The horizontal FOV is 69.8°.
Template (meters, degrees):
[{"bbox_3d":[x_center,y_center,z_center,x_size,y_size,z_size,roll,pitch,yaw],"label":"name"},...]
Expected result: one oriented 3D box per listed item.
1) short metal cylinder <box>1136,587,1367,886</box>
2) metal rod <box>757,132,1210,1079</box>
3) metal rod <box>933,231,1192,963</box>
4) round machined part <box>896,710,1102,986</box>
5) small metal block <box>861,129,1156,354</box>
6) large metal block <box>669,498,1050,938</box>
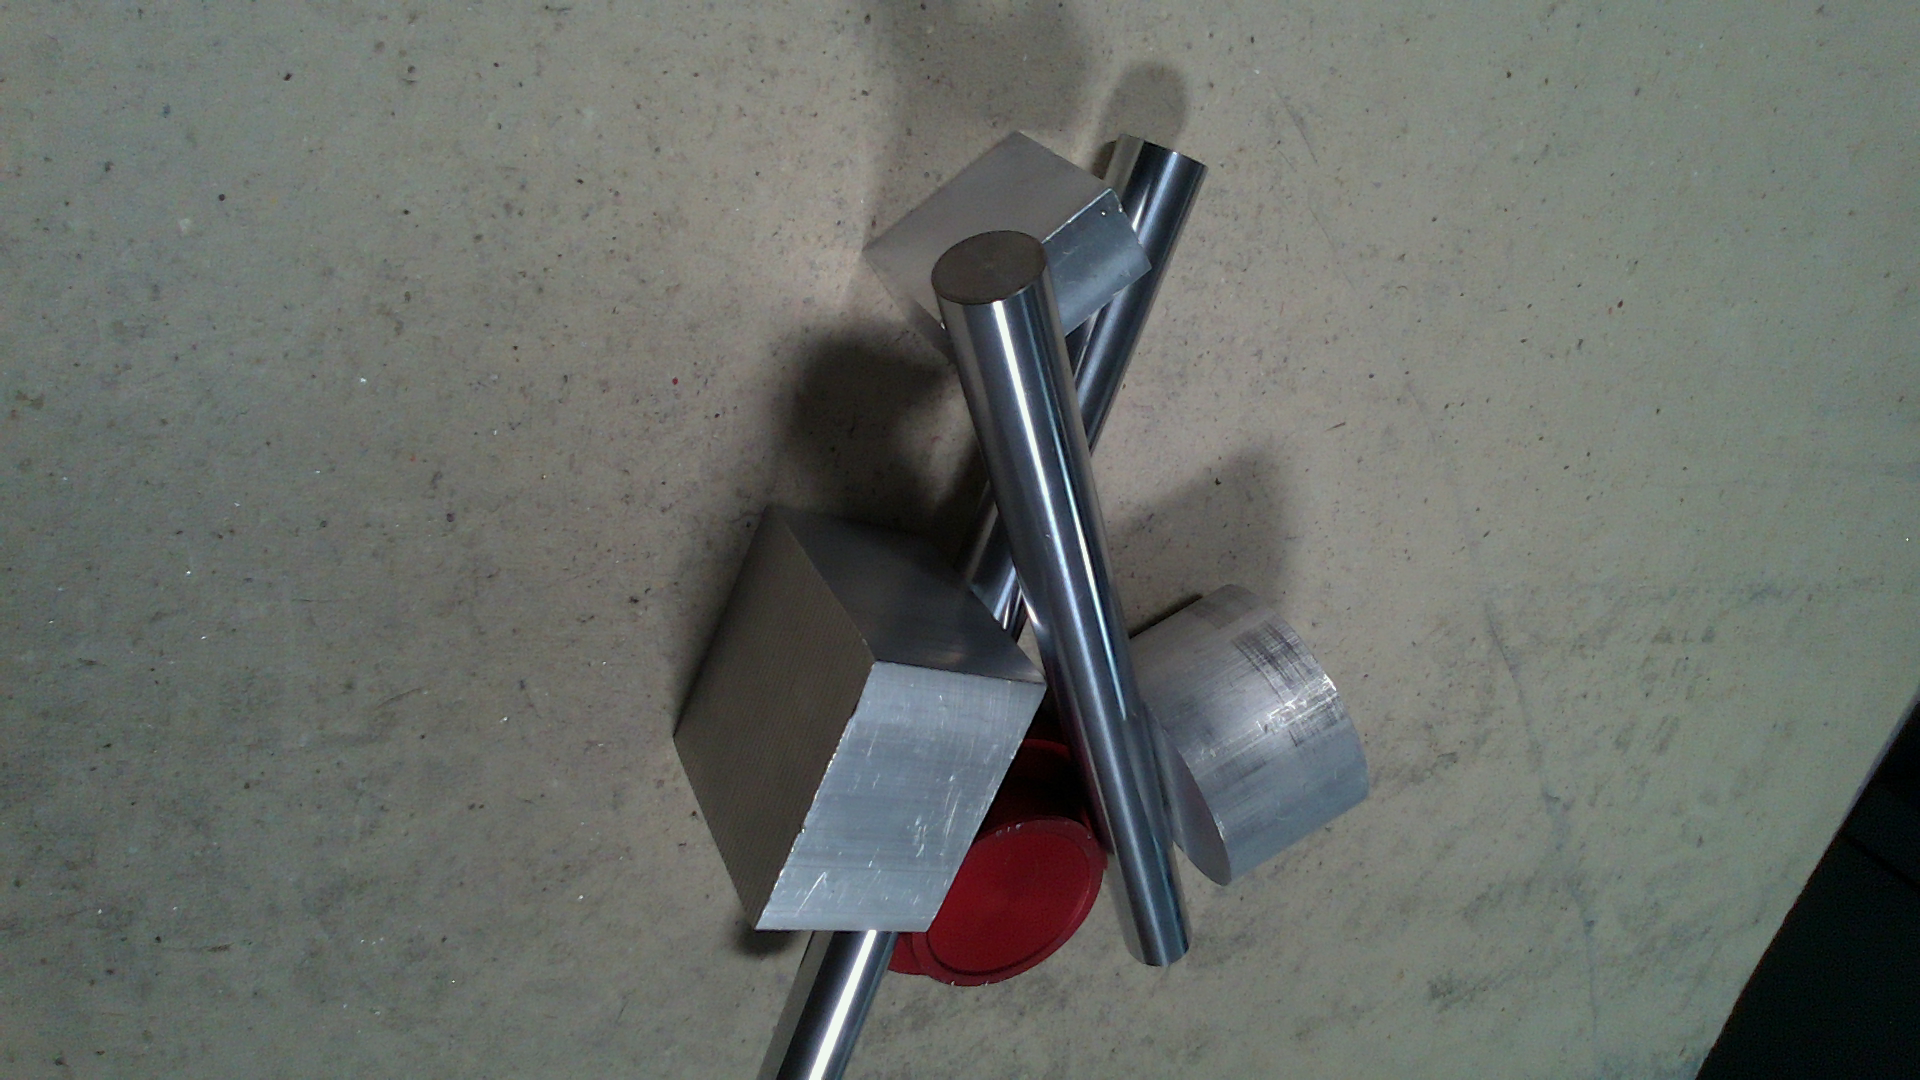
[{"bbox_3d":[0.083,0.061,0.437,0.050,0.080,0.080,-28,128,-10],"label":"short metal cylinder"},{"bbox_3d":[0.001,0.035,0.392,0.025,0.025,0.300,12,106,-33],"label":"metal rod"},{"bbox_3d":[0.039,0.043,0.393,0.025,0.025,0.300,-29,137,-10],"label":"metal rod"},{"bbox_3d":[0.007,0.105,0.447,0.098,0.042,0.098,-14,124,-21],"label":"round machined part"},{"bbox_3d":[0.011,-0.069,0.336,0.050,0.050,0.025,-39,129,-2],"label":"small metal block"},{"bbox_3d":[-0.031,0.047,0.366,0.050,0.080,0.080,12,112,-33],"label":"large metal block"}]
